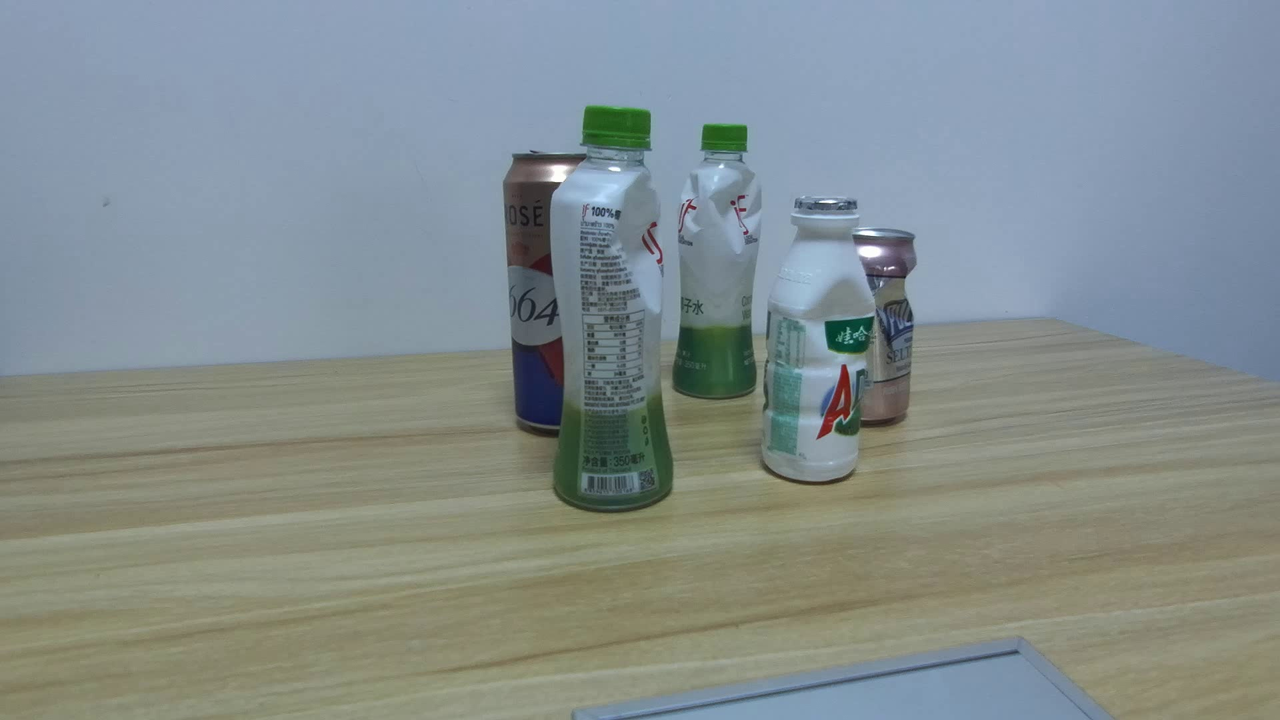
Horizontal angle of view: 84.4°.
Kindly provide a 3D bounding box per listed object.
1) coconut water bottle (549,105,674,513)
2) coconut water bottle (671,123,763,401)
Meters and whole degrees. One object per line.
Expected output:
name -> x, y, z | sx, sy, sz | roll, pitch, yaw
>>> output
coconut water bottle -> -0.012, -0.025, 0.347 | 0.069, 0.187, 0.069 | 1, 13, 0
coconut water bottle -> 0.057, -0.068, 0.499 | 0.067, 0.187, 0.067 | 1, 12, 0
